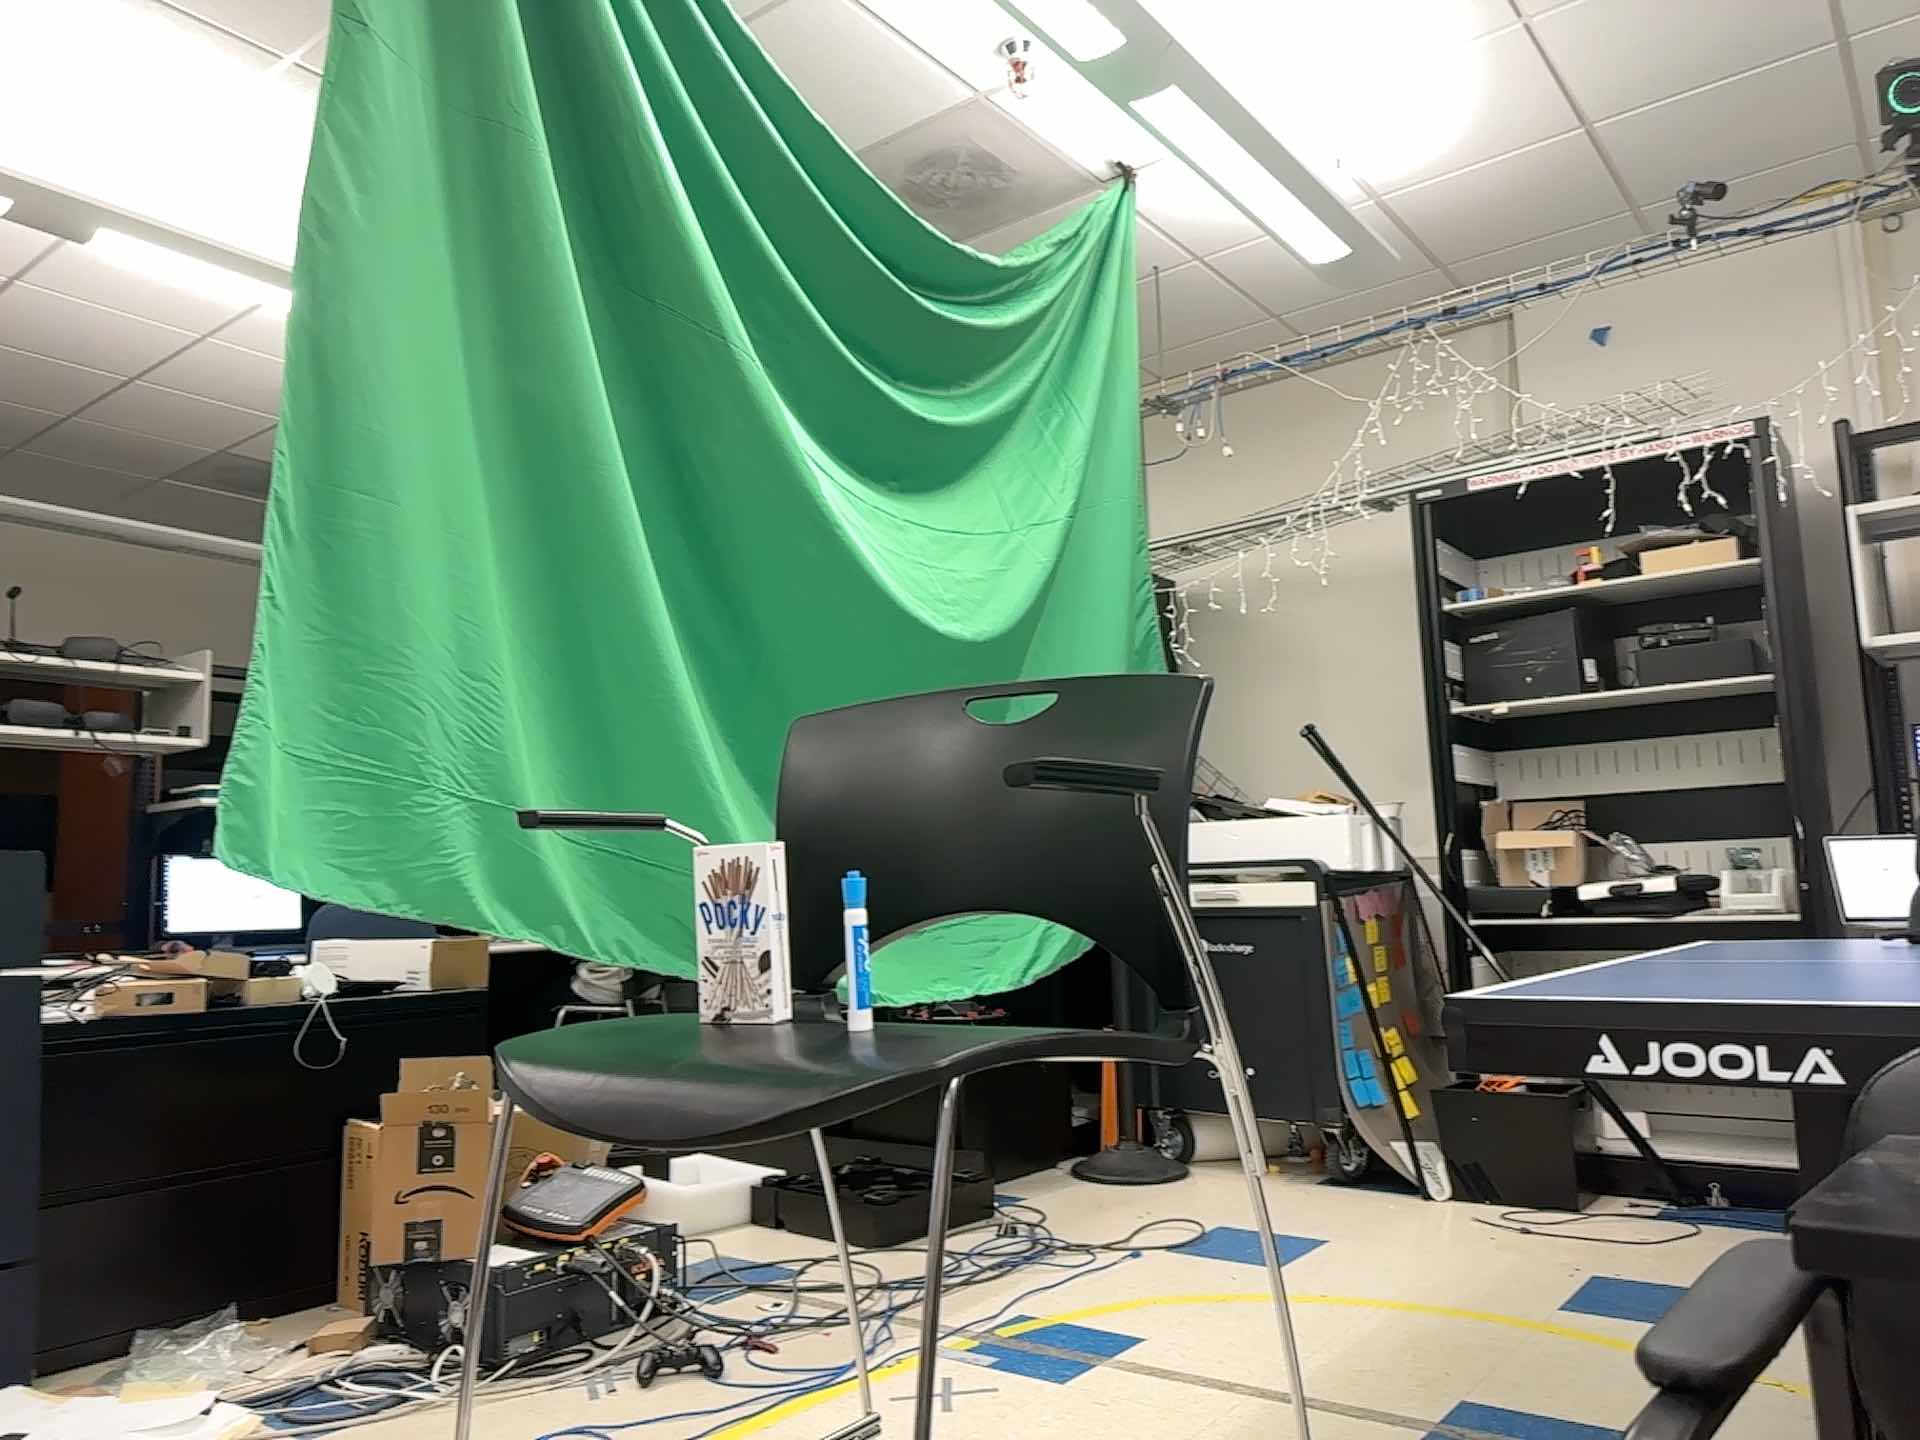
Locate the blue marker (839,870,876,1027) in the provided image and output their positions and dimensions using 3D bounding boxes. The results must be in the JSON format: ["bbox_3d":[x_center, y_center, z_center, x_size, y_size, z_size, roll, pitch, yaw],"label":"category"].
[{"bbox_3d":[-0.082,0.179,1.060,0.020,0.121,0.020,-5,-4,0],"label":"blue marker"}]

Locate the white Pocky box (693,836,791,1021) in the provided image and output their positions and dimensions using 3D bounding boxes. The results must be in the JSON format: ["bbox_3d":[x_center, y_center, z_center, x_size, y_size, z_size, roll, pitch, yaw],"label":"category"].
[{"bbox_3d":[-0.189,0.179,1.160,0.084,0.154,0.028,-6,-4,32],"label":"white Pocky box"}]
